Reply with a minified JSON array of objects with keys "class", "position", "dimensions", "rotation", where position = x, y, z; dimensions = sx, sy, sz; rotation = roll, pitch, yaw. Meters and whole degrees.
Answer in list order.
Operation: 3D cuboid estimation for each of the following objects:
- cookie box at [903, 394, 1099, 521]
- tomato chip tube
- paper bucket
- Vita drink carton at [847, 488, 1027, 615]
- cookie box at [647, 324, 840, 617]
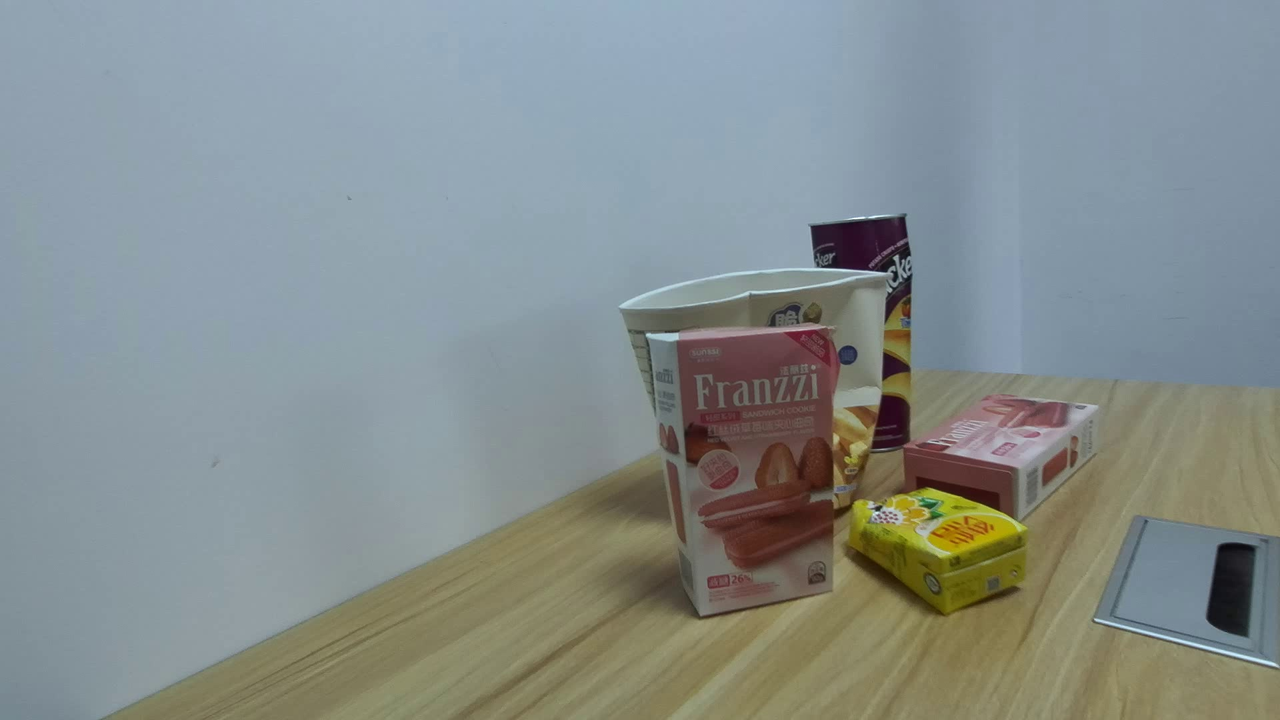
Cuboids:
[{"class":"cookie box","position":[0.322,0.081,0.624],"dimensions":[0.185,0.048,0.095],"rotation":[-16,14,-40]},{"class":"tomato chip tube","position":[0.234,-0.028,0.730],"dimensions":[0.076,0.235,0.077],"rotation":[-15,13,-34]},{"class":"paper bucket","position":[0.113,0.026,0.617],"dimensions":[0.219,0.199,0.147],"rotation":[-17,15,-40]},{"class":"Vita drink carton","position":[0.200,0.124,0.482],"dimensions":[0.087,0.042,0.108],"rotation":[-14,9,-9]},{"class":"cookie box","position":[0.074,0.069,0.468],"dimensions":[0.118,0.184,0.055],"rotation":[-7,13,-2]}]
